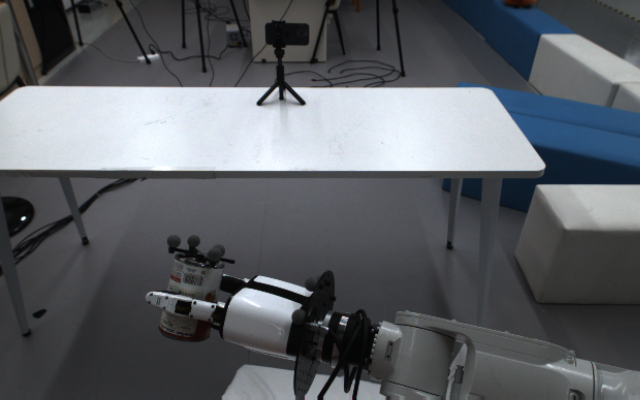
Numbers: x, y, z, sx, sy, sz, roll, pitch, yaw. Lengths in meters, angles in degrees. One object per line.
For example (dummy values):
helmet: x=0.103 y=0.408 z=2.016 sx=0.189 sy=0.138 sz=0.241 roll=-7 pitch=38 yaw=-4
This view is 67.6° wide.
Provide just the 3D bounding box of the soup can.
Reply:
soup can: x=-0.168 y=0.129 z=0.641 sx=0.067 sy=0.101 sz=0.067 roll=13 pitch=1 yaw=0
